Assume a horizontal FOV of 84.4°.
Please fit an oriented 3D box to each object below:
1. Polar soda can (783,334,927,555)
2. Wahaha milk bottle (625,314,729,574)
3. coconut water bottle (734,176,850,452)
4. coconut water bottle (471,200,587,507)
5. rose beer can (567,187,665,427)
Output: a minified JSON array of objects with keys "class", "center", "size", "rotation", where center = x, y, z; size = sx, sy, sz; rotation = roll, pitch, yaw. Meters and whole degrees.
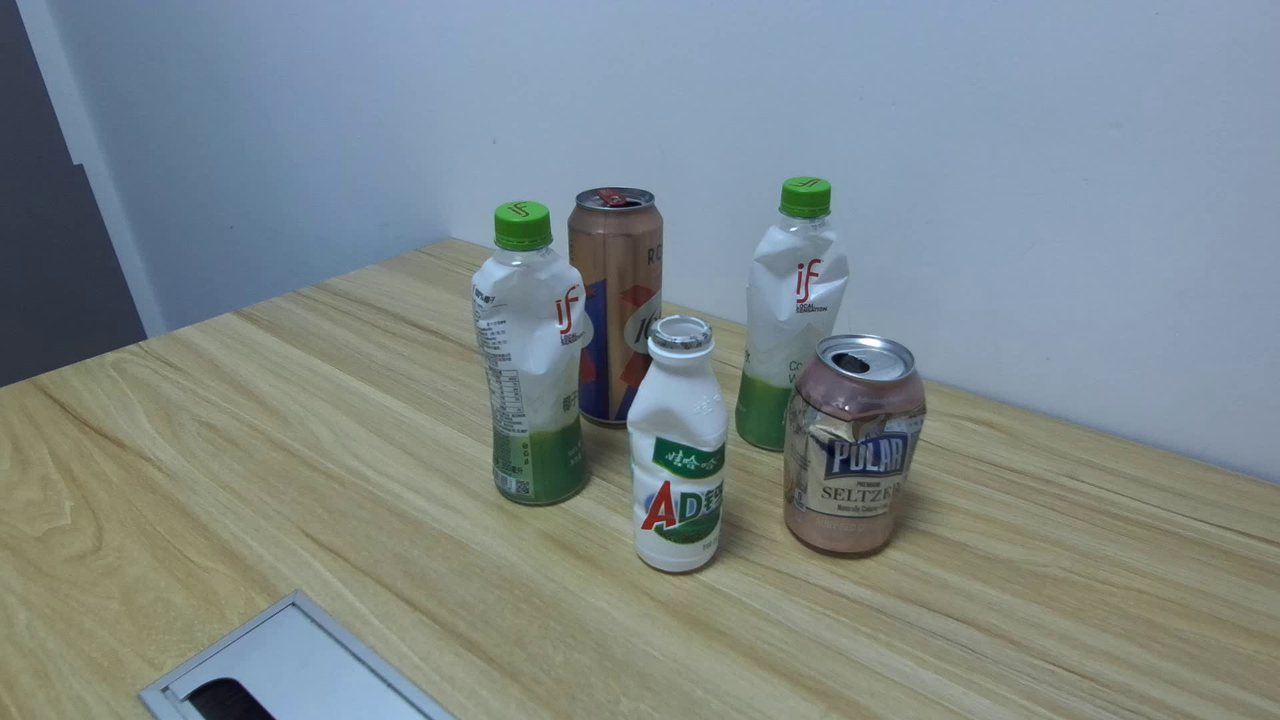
[{"class":"Polar soda can","center":[0.121,0.050,0.416],"size":[0.074,0.122,0.067],"rotation":[21,33,30]},{"class":"Wahaha milk bottle","center":[0.021,0.048,0.389],"size":[0.056,0.148,0.056],"rotation":[0,31,0]},{"class":"coconut water bottle","center":[0.103,-0.029,0.485],"size":[0.067,0.187,0.067],"rotation":[0,30,0]},{"class":"coconut water bottle","center":[-0.066,-0.003,0.437],"size":[0.069,0.187,0.069],"rotation":[1,27,0]},{"class":"rose beer can","center":[-0.018,-0.035,0.521],"size":[0.068,0.169,0.068],"rotation":[1,23,0]}]
